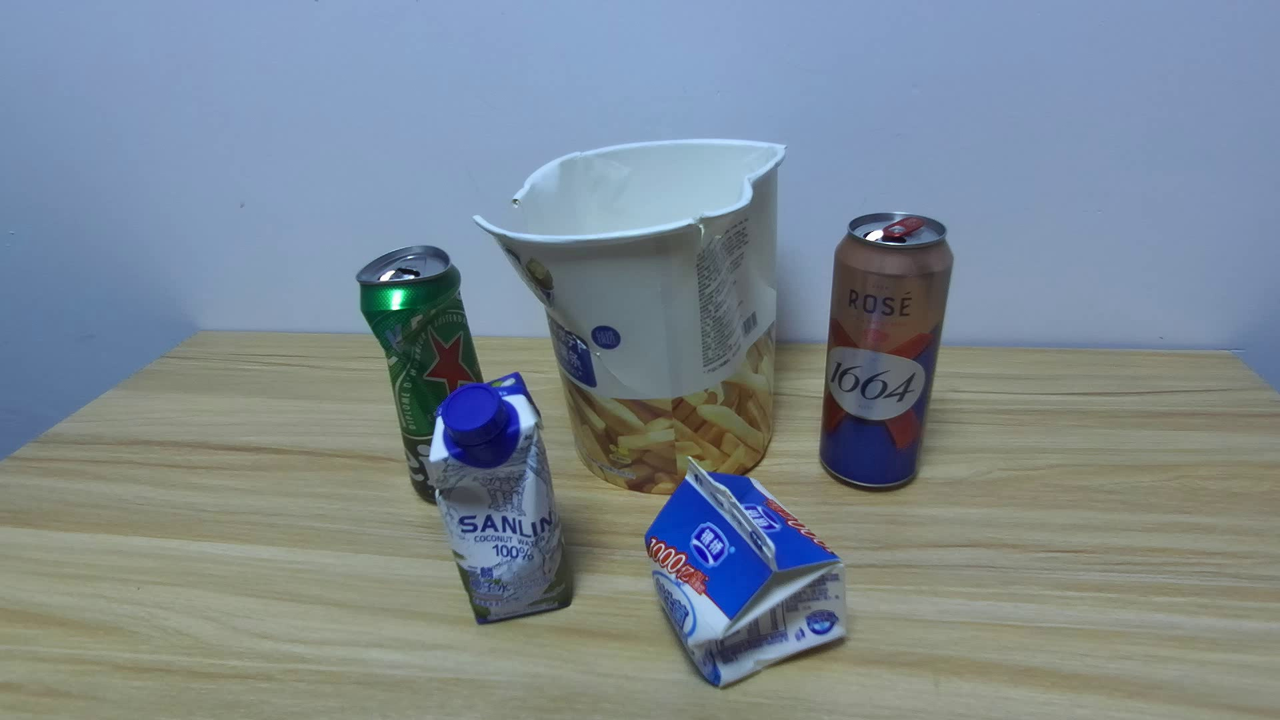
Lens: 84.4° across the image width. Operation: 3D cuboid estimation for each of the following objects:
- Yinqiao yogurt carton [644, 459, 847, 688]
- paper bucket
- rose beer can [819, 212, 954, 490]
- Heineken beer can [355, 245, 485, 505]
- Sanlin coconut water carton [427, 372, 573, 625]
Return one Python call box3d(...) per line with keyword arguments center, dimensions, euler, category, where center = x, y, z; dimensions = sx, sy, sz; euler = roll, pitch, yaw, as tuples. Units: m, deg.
box3d(center=(0.047, 0.101, 0.346), dimensions=(0.080, 0.097, 0.074), euler=(-24, 34, -16), category="Yinqiao yogurt carton")
box3d(center=(0.015, -0.030, 0.478), dimensions=(0.145, 0.197, 0.203), euler=(5, 31, 20), category="paper bucket")
box3d(center=(0.151, -0.001, 0.443), dimensions=(0.068, 0.169, 0.068), euler=(-3, 28, 2), category="rose beer can")
box3d(center=(-0.131, 0.013, 0.459), dimensions=(0.065, 0.164, 0.078), euler=(19, 39, 40), category="Heineken beer can")
box3d(center=(-0.075, 0.068, 0.373), dimensions=(0.061, 0.144, 0.069), euler=(-9, 31, -6), category="Sanlin coconut water carton")
